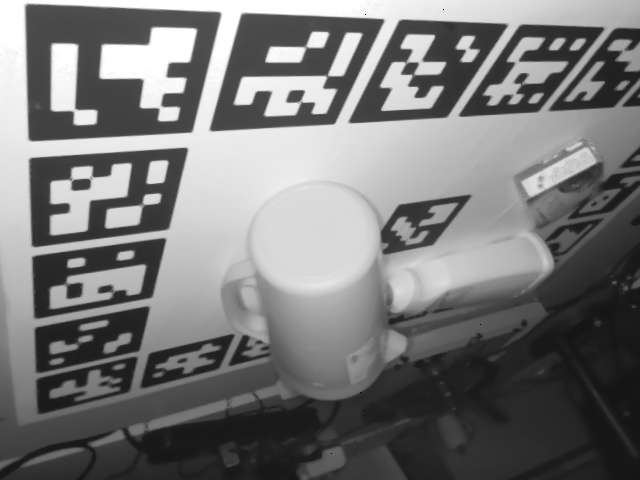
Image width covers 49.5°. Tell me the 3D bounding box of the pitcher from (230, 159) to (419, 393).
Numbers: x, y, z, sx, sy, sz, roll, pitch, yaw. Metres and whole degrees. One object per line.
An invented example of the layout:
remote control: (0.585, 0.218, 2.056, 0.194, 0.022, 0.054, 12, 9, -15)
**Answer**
pitcher: (-0.001, 0.037, 0.665, 0.188, 0.135, 0.241, 7, 145, 13)

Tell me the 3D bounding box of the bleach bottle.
bleach bottle: (0.195, 0.062, 0.872, 0.254, 0.068, 0.101, -7, 140, -24)

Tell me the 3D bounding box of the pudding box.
pudding box: (0.296, -0.057, 0.779, 0.089, 0.039, 0.114, -26, 148, 14)
